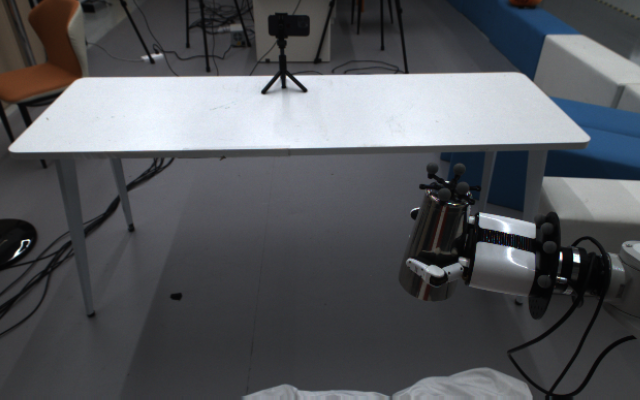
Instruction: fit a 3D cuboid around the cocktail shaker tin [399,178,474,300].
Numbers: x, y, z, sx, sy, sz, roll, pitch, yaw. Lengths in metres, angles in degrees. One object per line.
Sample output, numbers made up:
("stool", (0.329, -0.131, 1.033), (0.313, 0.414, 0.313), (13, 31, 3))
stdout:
("cocktail shaker tin", (0.179, 0.058, 0.732), (0.093, 0.170, 0.093), (3, 34, -2))
